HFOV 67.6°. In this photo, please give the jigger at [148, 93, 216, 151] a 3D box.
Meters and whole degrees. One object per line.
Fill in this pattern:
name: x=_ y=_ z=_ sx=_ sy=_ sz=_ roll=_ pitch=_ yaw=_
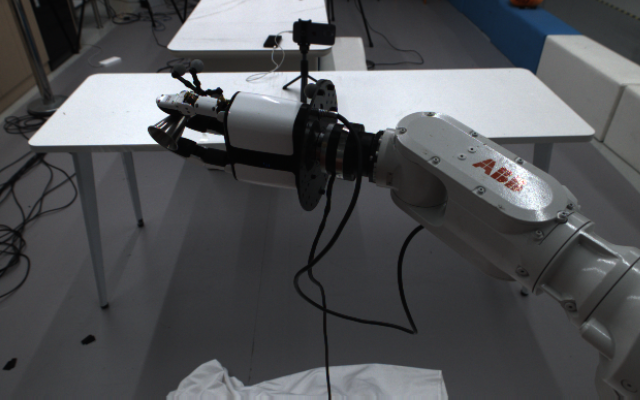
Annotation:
jigger: x=-0.184 y=-0.106 z=0.622 sx=0.043 sy=0.043 sz=0.071 roll=19 pitch=62 yaw=23
